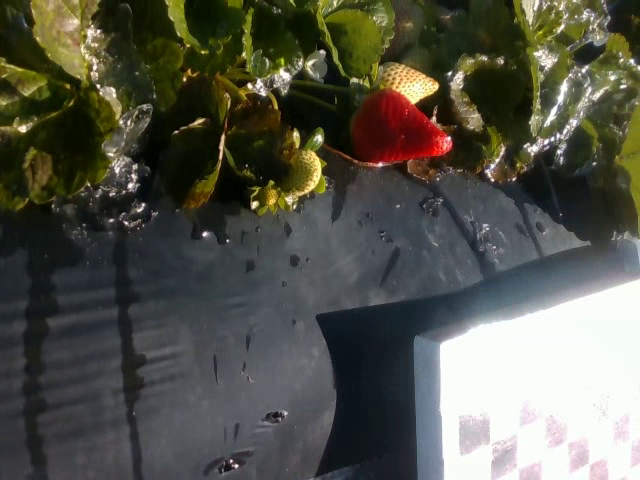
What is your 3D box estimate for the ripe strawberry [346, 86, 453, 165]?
[{"bbox_3d":[0.040,-0.051,0.289,0.053,0.040,0.042,26,-28,29],"label":"ripe strawberry"}]
